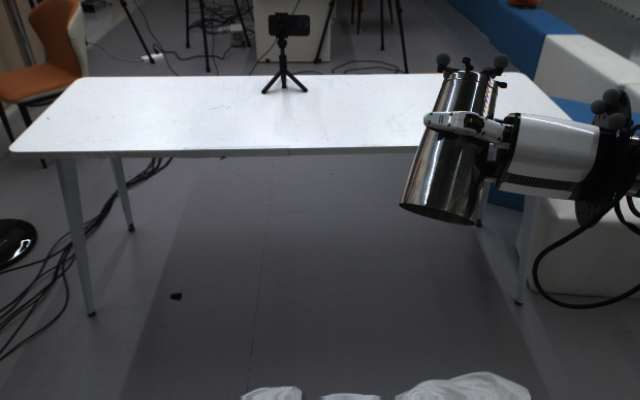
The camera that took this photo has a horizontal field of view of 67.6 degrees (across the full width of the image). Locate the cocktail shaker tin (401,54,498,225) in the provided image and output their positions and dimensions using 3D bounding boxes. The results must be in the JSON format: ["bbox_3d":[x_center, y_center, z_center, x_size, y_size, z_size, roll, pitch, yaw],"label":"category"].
[{"bbox_3d":[0.162,-0.064,0.586,0.093,0.170,0.093,16,-6,2],"label":"cocktail shaker tin"}]
